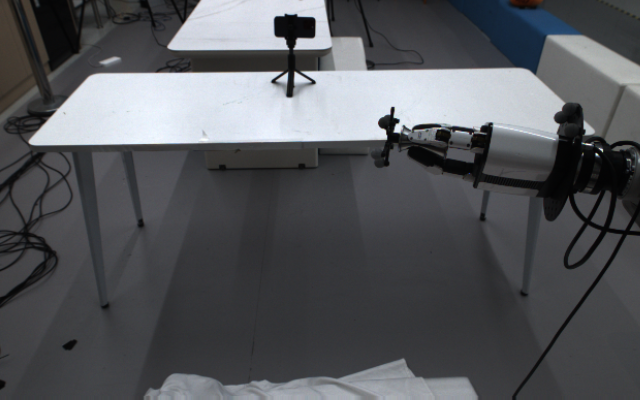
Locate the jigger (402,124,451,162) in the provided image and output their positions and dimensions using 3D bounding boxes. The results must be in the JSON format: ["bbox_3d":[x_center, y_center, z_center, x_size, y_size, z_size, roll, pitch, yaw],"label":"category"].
[{"bbox_3d":[0.156,-0.088,0.700,0.071,0.043,0.043,10,35,15],"label":"jigger"}]
